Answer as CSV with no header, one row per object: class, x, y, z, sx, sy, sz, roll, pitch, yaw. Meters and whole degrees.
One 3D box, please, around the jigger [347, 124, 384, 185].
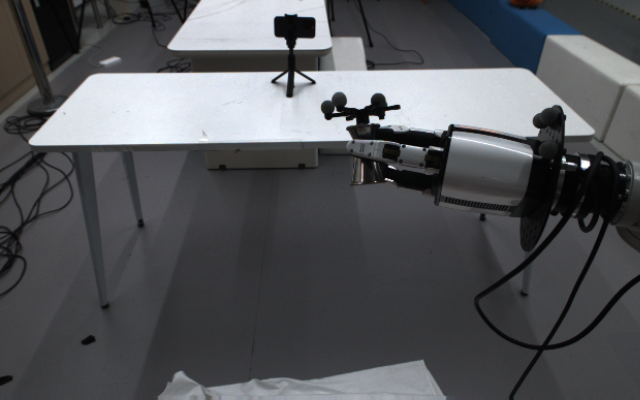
jigger,0.053,-0.052,0.566,0.043,0.071,0.043,-4,1,0
